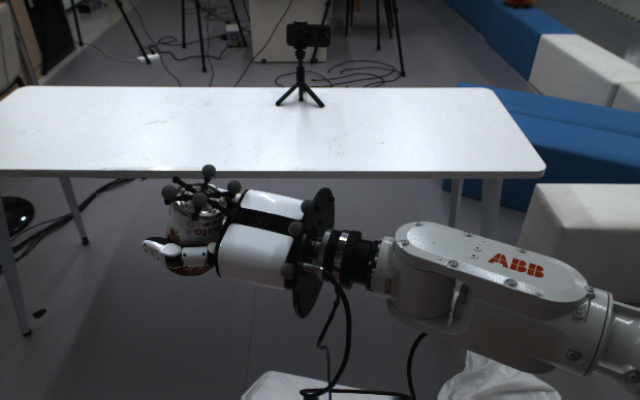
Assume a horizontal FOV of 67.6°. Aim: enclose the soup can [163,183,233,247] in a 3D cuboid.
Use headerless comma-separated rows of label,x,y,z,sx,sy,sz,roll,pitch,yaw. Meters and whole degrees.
soup can,-0.158,0.039,0.611,0.067,0.101,0.067,14,36,-10
